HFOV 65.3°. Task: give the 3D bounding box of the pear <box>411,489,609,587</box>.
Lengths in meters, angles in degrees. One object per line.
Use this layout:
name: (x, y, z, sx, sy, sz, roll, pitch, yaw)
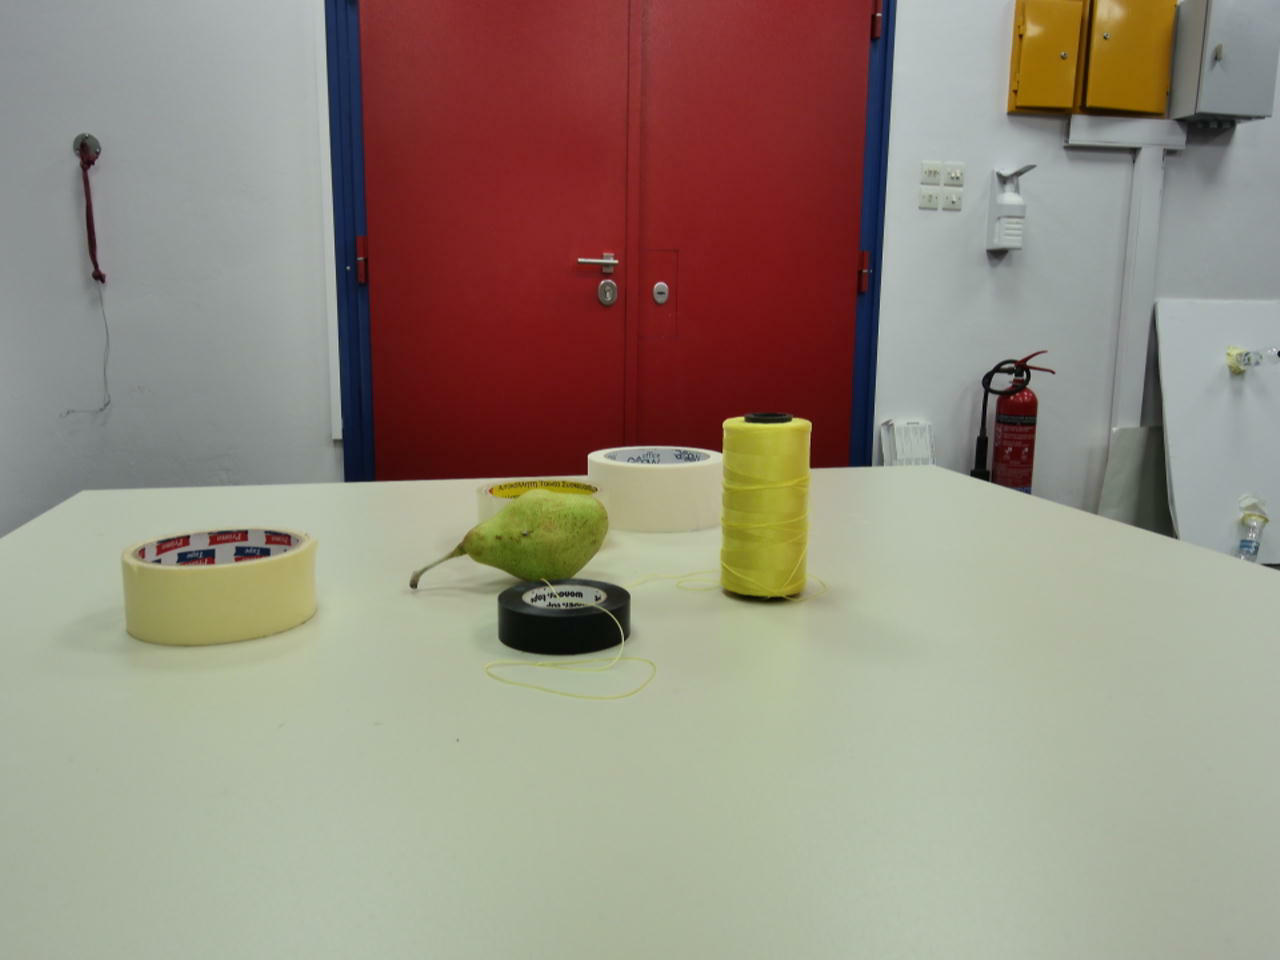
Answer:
pear: (-0.074, 0.033, 0.588, 0.111, 0.056, 0.056, 0, 8, 3)
